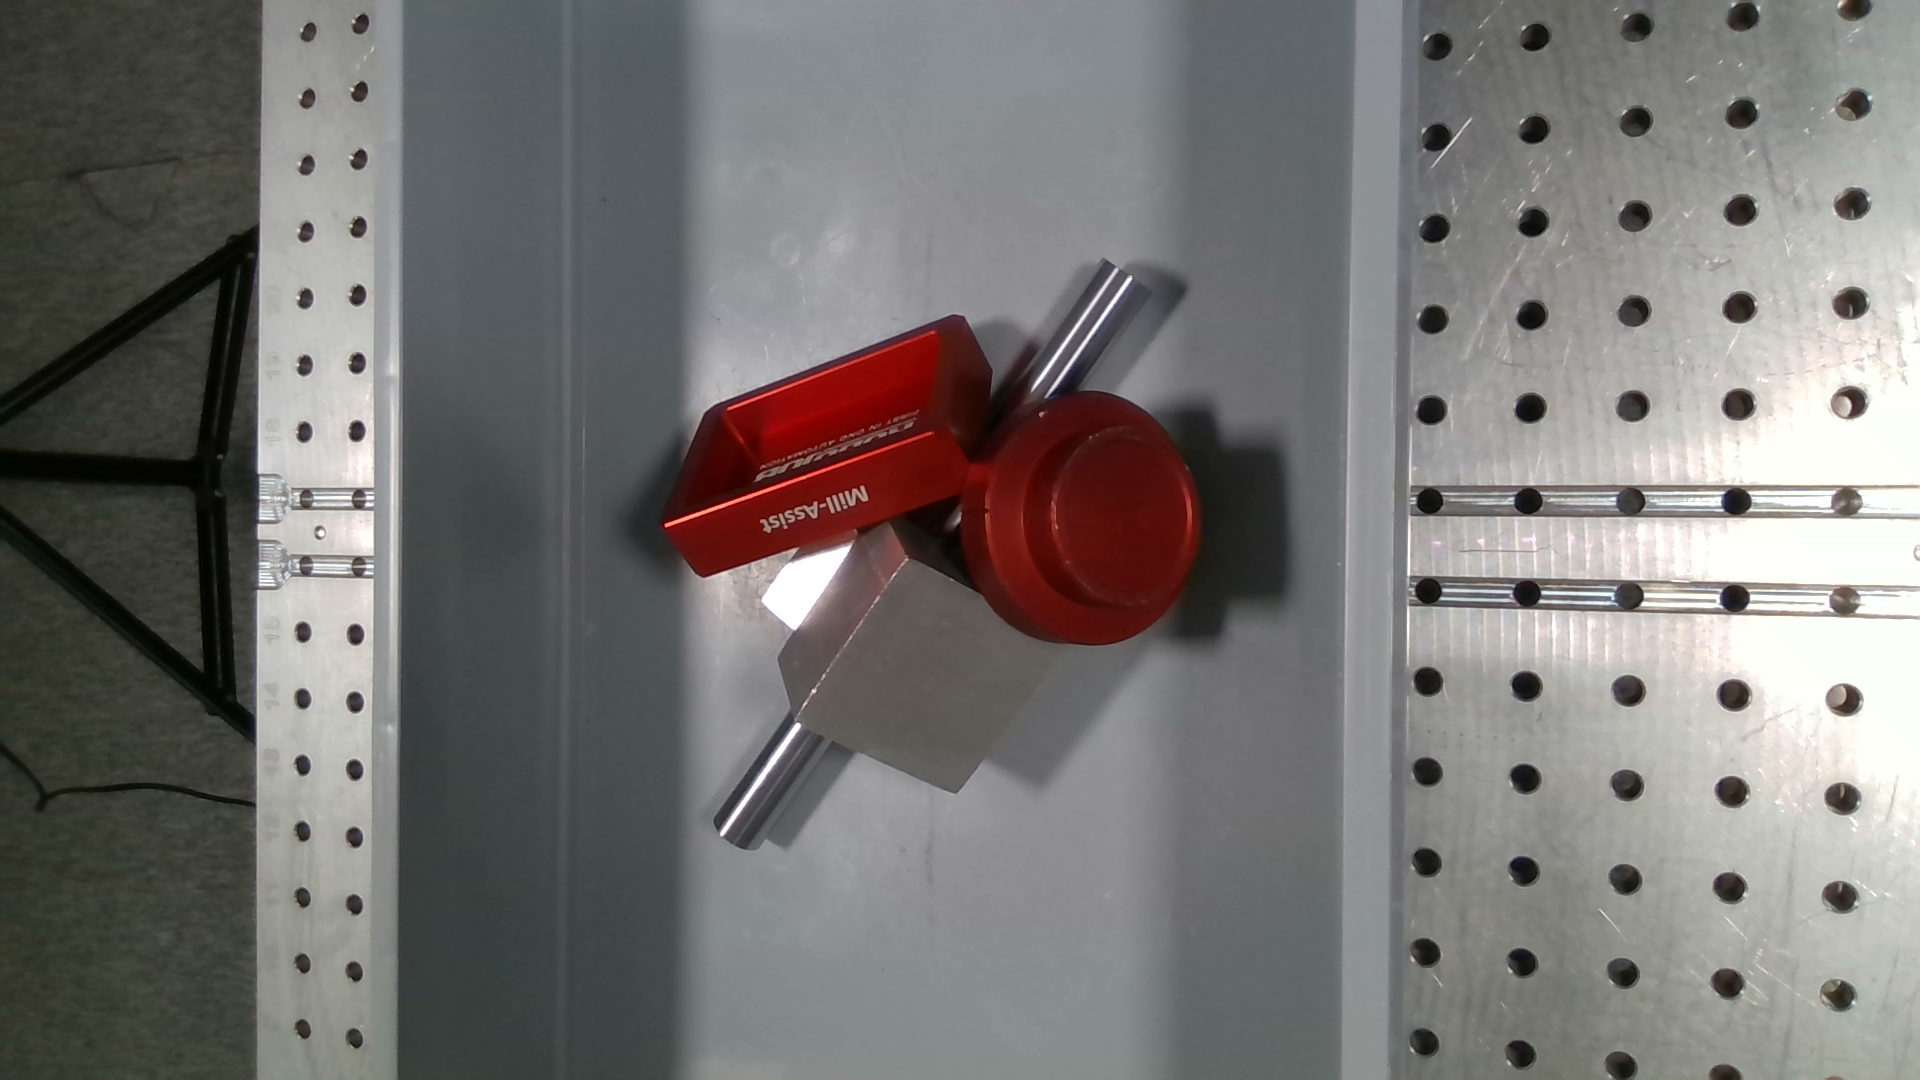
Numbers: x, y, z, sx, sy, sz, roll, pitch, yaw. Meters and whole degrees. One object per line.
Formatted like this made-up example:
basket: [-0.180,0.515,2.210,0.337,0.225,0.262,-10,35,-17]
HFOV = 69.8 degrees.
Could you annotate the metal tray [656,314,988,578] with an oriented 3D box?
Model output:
metal tray: [-0.055,-0.040,0.571,0.130,0.090,0.030,-18,125,19]

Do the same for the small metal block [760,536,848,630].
small metal block: [-0.051,0.014,0.590,0.025,0.050,0.050,40,103,16]

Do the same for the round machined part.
round machined part: [0.052,-0.008,0.524,0.042,0.098,0.098,-2,90,61]

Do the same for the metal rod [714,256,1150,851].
metal rod: [-0.017,0.012,0.591,0.025,0.025,0.300,39,103,16]

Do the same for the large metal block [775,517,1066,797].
large metal block: [-0.016,0.045,0.557,0.080,0.050,0.080,29,104,-26]
